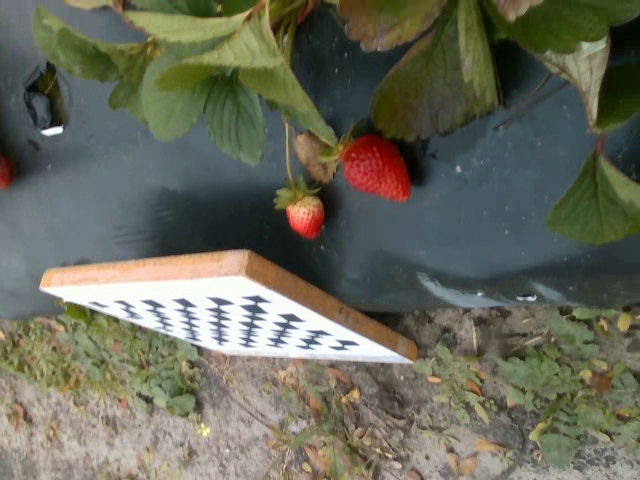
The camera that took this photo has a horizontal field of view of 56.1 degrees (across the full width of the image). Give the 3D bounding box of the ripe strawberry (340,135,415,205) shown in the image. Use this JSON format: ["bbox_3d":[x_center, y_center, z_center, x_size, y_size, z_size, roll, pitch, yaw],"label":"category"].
[{"bbox_3d":[0.035,-0.042,0.373,0.059,0.042,0.044,35,-10,3],"label":"ripe strawberry"}]

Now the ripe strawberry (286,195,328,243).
[{"bbox_3d":[-0.012,-0.015,0.433,0.036,0.028,0.041,6,-38,42],"label":"ripe strawberry"}]
